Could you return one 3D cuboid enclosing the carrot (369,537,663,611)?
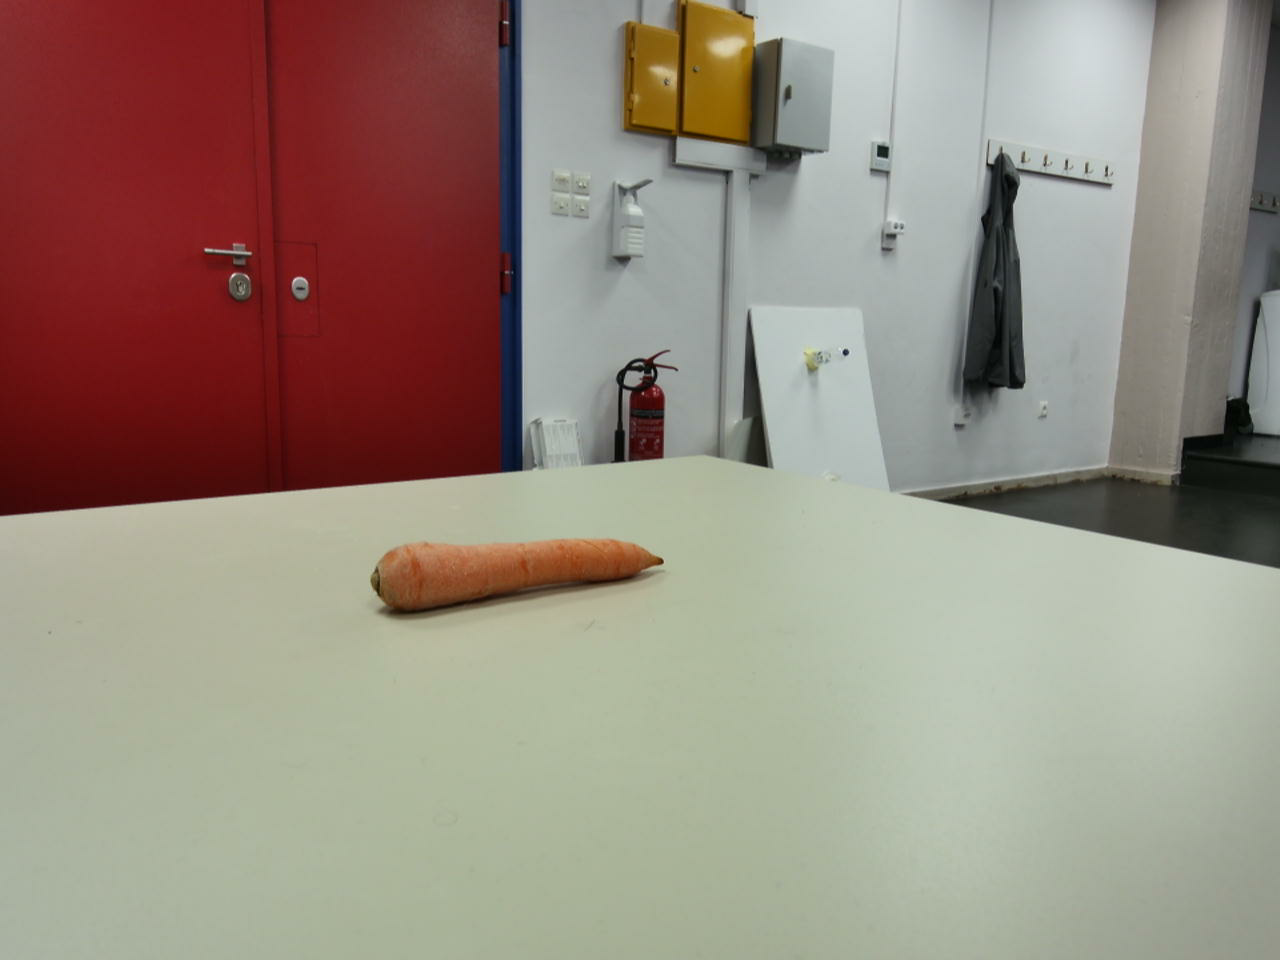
[{"bbox_3d":[-0.067,0.050,0.610,0.196,0.041,0.039,-6,10,-35],"label":"carrot"}]
